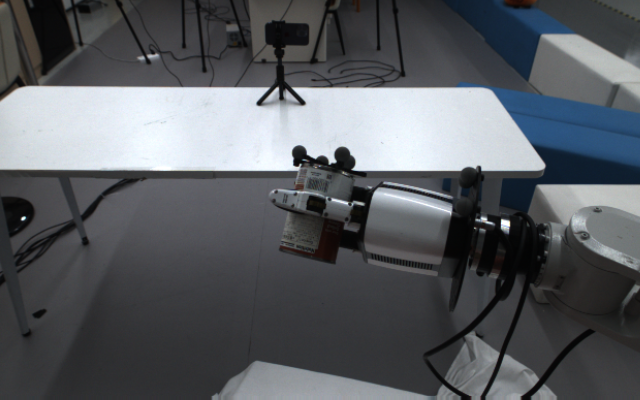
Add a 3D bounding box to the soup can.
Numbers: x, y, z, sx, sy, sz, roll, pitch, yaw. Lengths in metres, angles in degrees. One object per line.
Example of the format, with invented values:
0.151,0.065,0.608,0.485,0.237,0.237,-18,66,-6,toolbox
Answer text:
-0.001,0.016,0.552,0.067,0.101,0.067,13,-6,1,soup can
